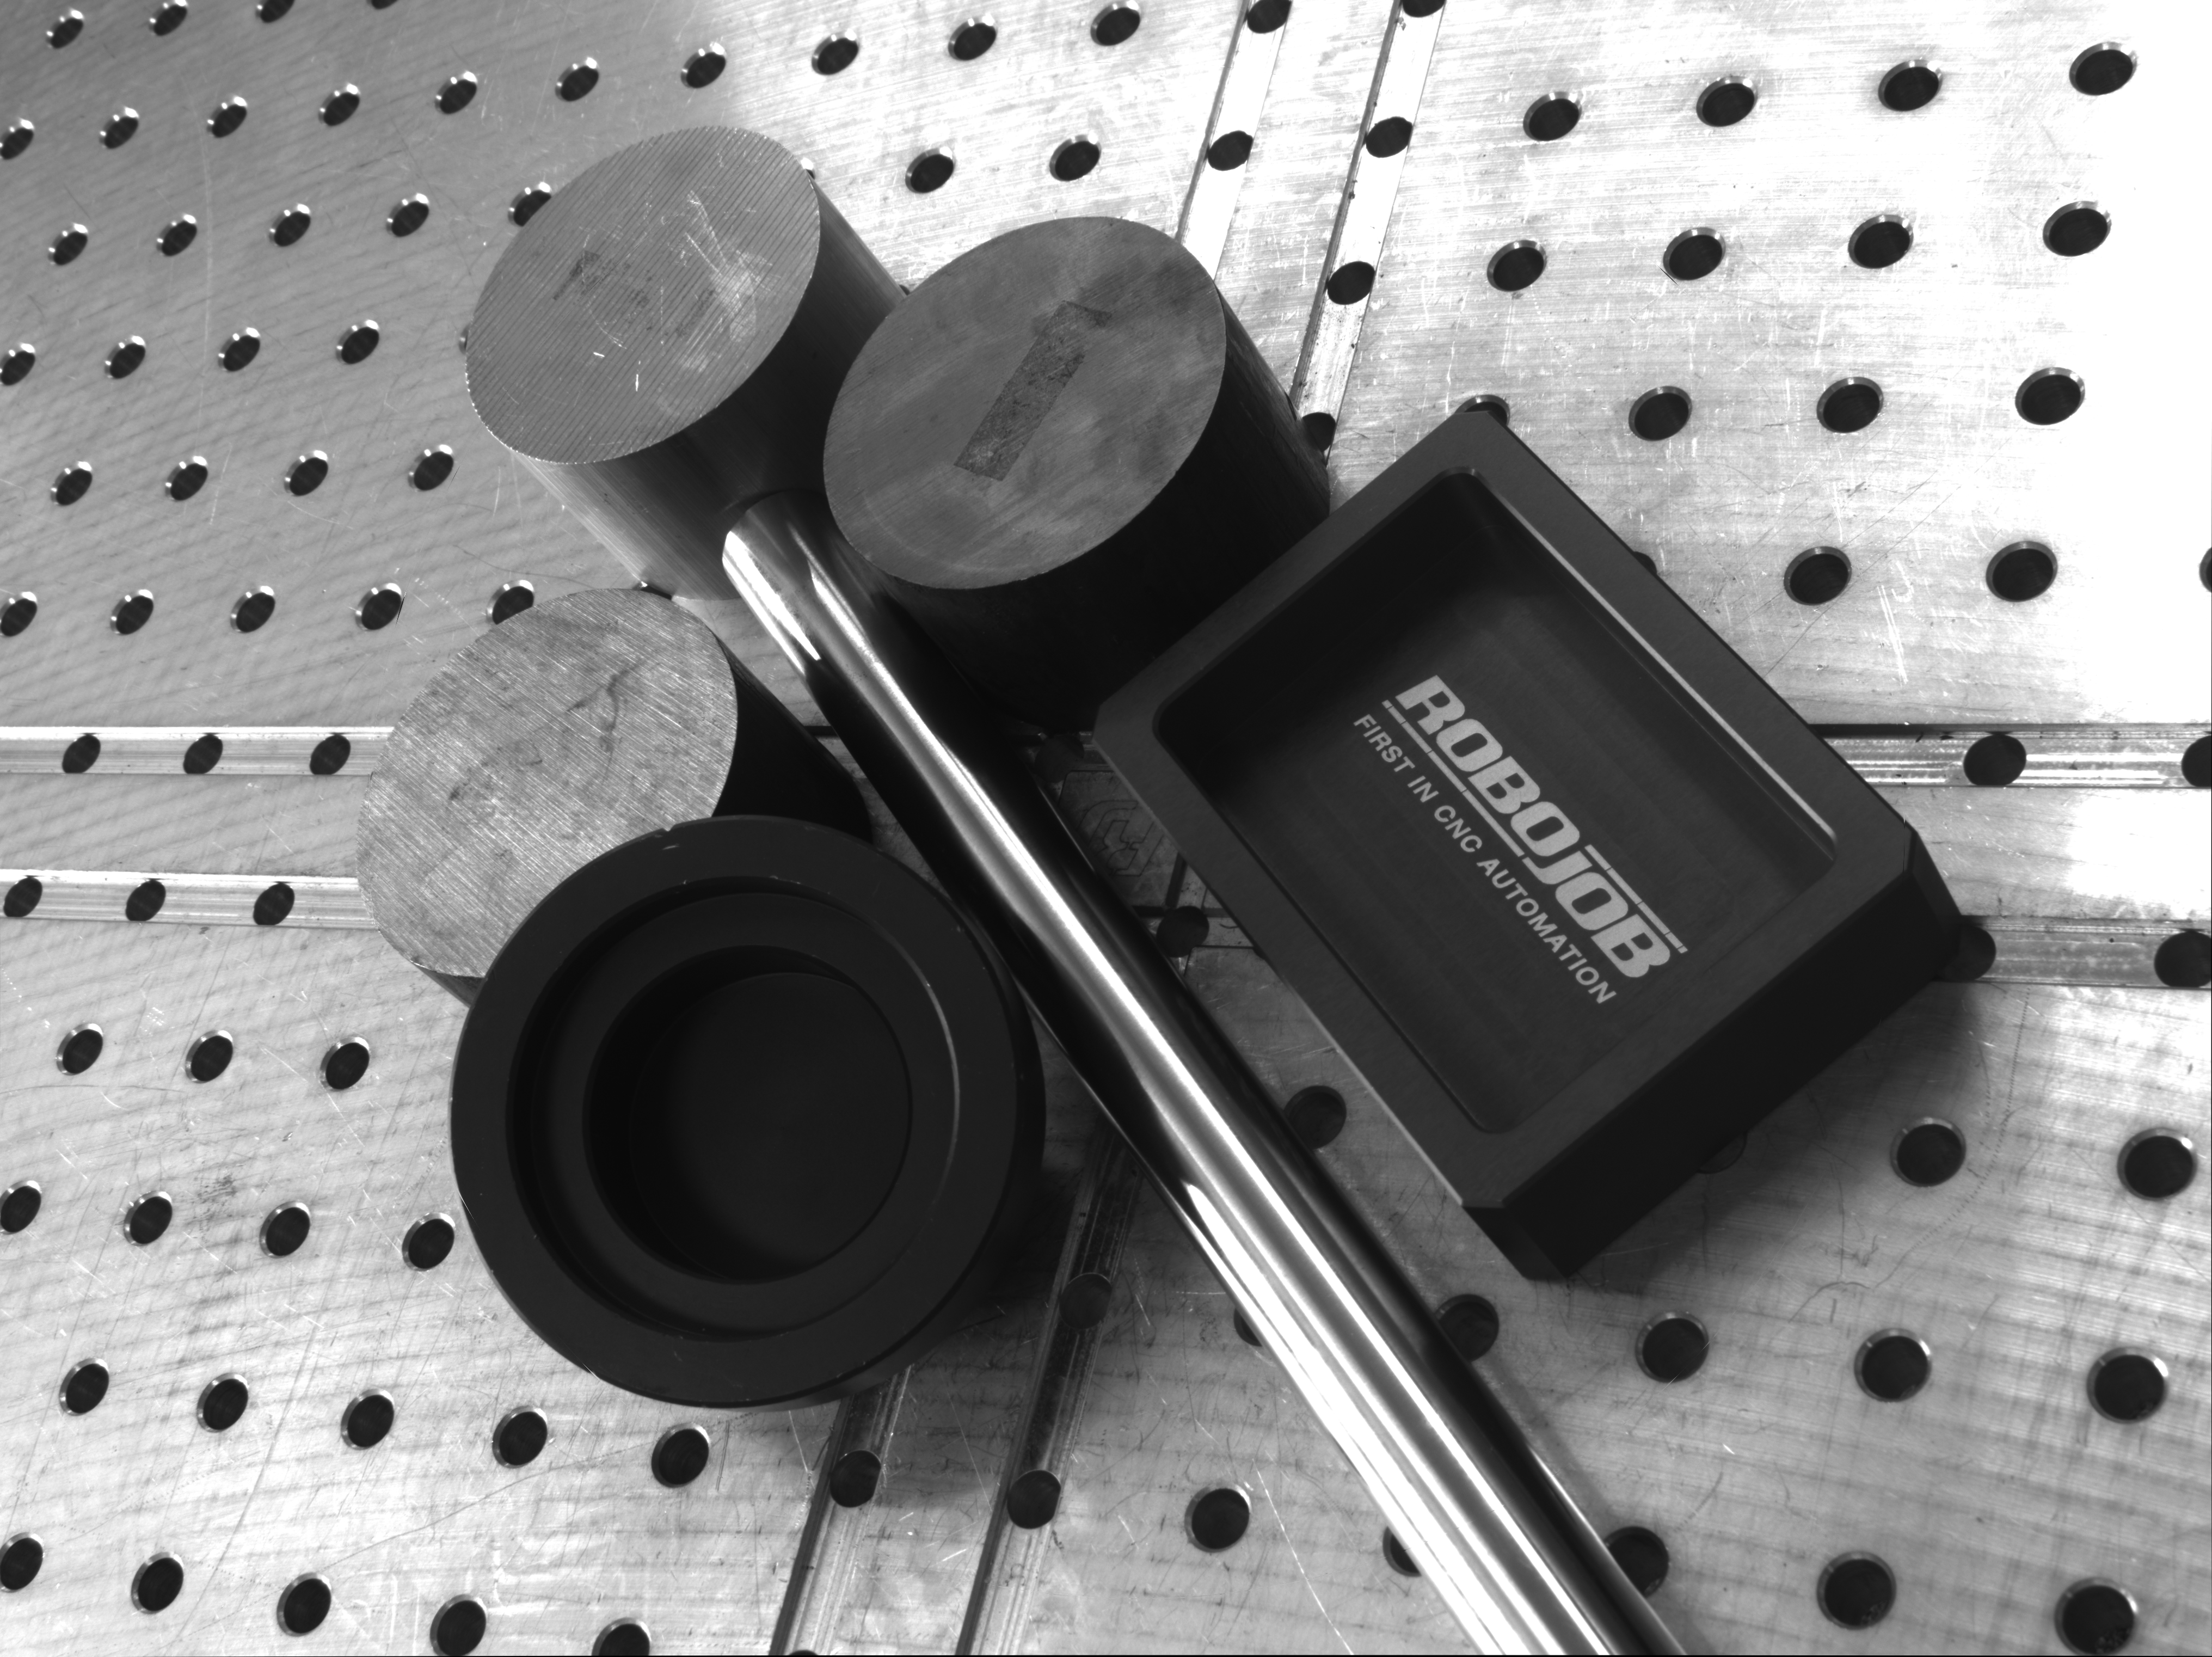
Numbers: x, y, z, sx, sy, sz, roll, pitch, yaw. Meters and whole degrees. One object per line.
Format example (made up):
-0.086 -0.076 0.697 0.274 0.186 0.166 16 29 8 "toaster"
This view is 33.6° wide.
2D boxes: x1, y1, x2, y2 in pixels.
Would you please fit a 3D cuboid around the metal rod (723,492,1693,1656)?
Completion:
0.006 0.037 0.622 0.025 0.025 0.299 -39 51 2 "metal rod"

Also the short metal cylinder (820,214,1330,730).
-0.005 -0.065 0.674 0.080 0.050 0.080 -14 56 21 "short metal cylinder"

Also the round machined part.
-0.058 0.050 0.624 0.098 0.042 0.098 -2 77 9 "round machined part"

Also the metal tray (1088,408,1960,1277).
0.066 -0.001 0.608 0.090 0.030 0.130 -40 51 2 "metal tray"

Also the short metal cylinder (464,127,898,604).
-0.080 -0.092 0.732 0.080 0.050 0.080 -14 56 21 "short metal cylinder"

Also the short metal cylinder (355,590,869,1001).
-0.091 0.003 0.678 0.080 0.050 0.080 -14 56 21 "short metal cylinder"
